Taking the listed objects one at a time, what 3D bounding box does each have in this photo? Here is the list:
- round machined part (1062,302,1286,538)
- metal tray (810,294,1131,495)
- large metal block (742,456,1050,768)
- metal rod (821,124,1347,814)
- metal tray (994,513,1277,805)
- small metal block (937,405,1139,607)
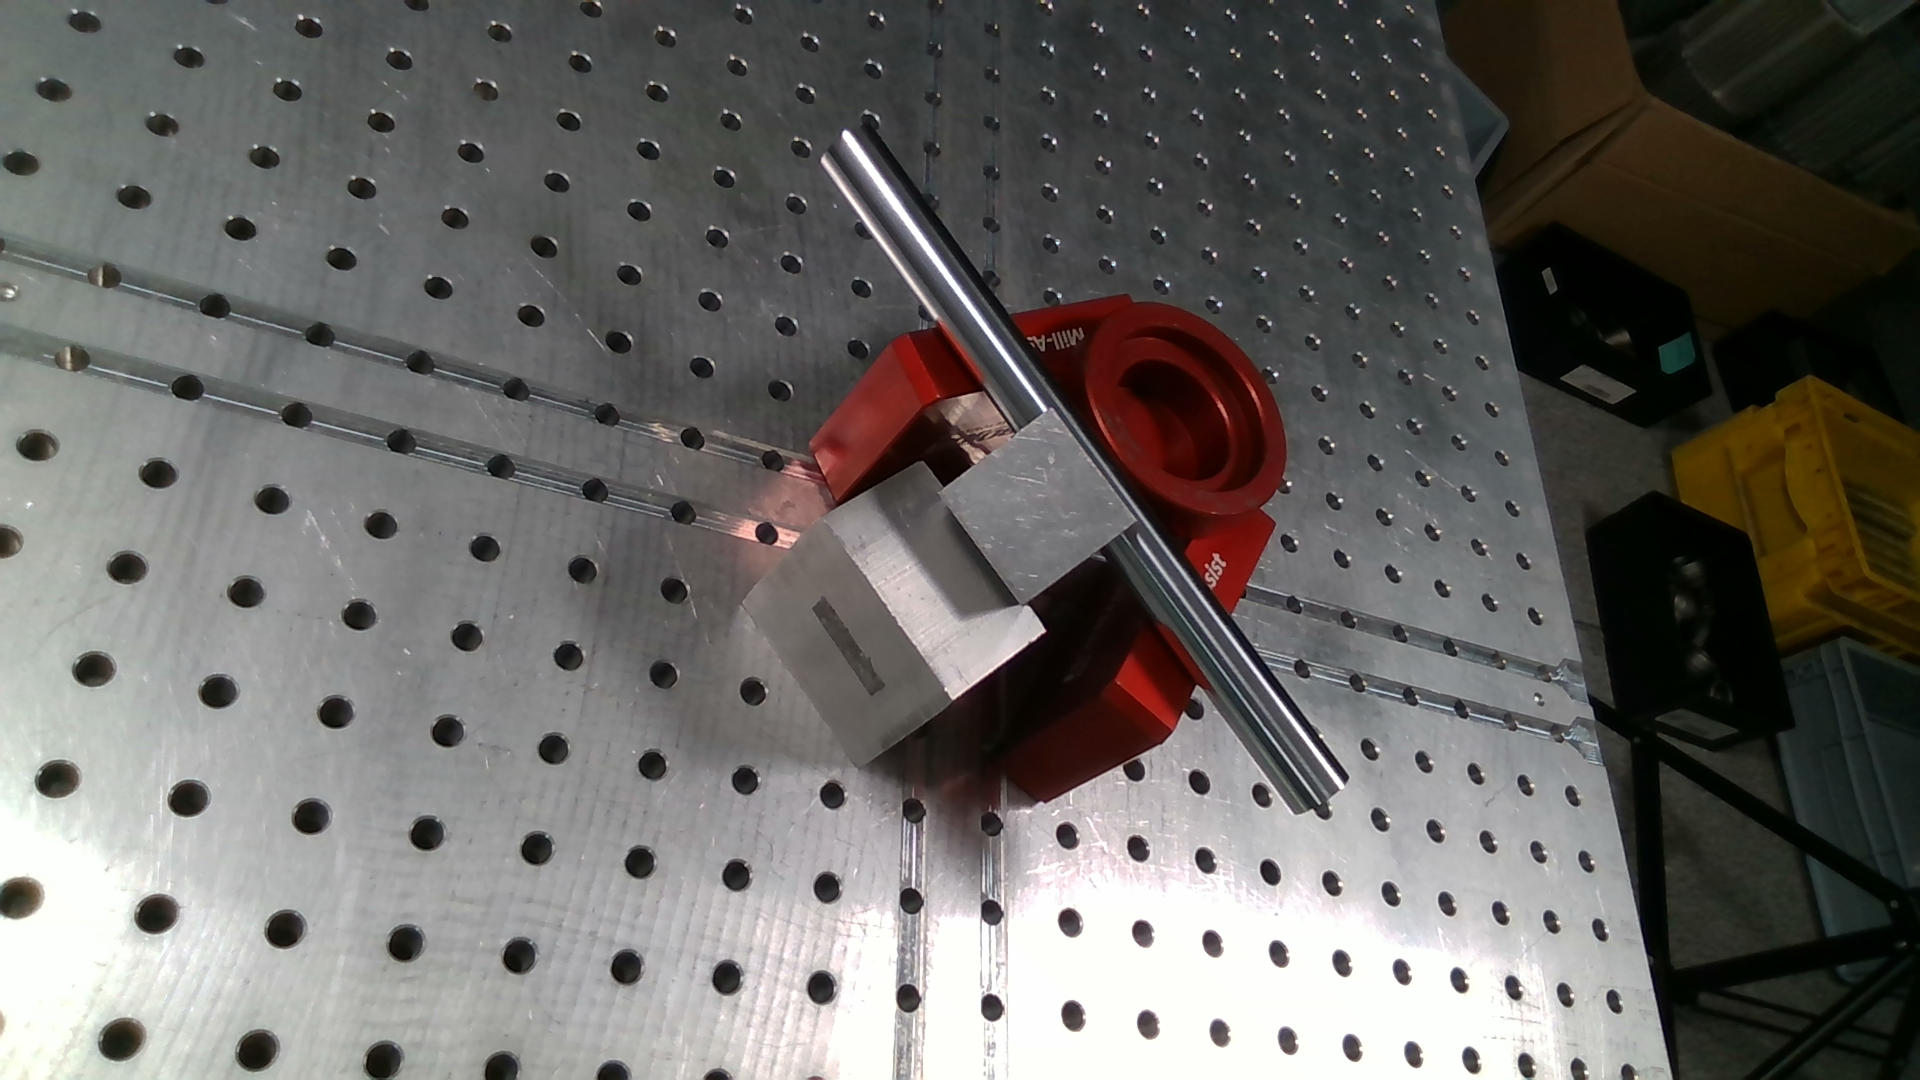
[{"bbox_3d":[0.082,-0.045,0.563,0.098,0.042,0.098,14,59,-25],"label":"round machined part"},{"bbox_3d":[0.012,-0.061,0.586,0.130,0.090,0.030,-17,75,-37],"label":"metal tray"},{"bbox_3d":[-0.026,0.028,0.518,0.050,0.080,0.080,-32,84,-39],"label":"large metal block"},{"bbox_3d":[0.044,-0.029,0.515,0.025,0.025,0.300,-32,84,-39],"label":"metal rod"},{"bbox_3d":[0.073,0.041,0.569,0.030,0.090,0.130,40,51,-6],"label":"metal tray"},{"bbox_3d":[0.028,-0.012,0.491,0.050,0.050,0.025,53,6,3],"label":"small metal block"}]
